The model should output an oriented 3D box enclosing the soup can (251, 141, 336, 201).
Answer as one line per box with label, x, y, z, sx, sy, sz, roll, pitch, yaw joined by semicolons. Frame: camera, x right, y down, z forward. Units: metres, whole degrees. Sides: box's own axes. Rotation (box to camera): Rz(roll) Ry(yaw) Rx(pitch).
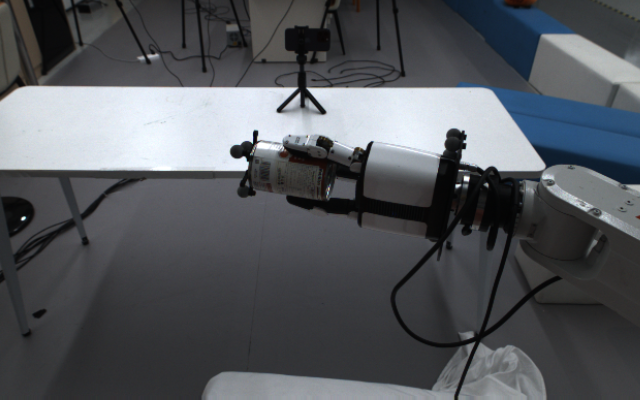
soup can;-0.032;-0.038;0.628;0.101;0.067;0.067;9;35;9
